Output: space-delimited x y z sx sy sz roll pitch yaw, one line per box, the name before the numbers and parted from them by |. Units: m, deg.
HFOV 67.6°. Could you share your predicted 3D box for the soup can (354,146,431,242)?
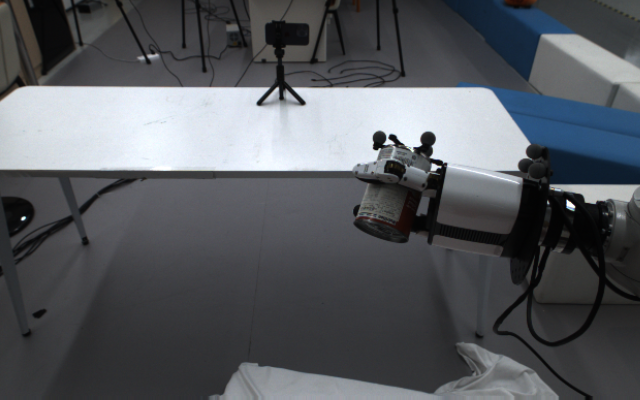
soup can | 0.090 -0.008 0.585 0.067 0.067 0.101 15 74 18
